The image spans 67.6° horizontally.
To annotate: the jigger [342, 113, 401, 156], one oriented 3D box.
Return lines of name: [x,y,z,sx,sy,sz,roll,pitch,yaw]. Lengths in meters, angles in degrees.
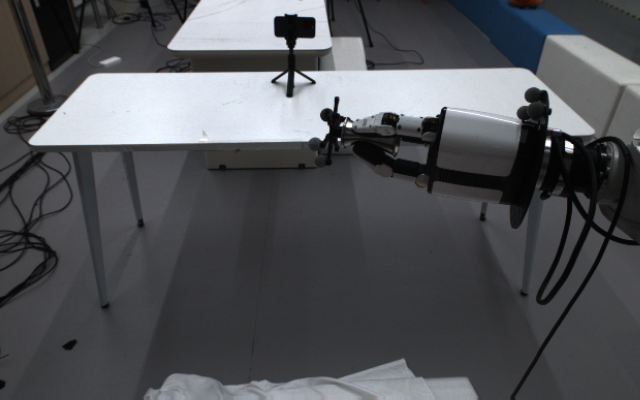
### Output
jigger: [0.070,-0.084,0.606,0.071,0.043,0.043,9,35,16]
